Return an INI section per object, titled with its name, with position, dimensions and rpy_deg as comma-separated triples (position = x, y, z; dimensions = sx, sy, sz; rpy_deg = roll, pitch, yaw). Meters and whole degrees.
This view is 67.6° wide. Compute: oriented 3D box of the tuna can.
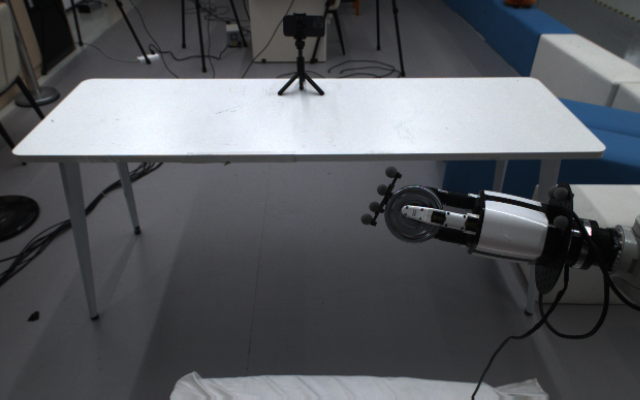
[tuna can]
position = 0.141, 0.017, 0.715
dimensions = 0.085, 0.085, 0.034
rpy_deg = 9, 4, 10
